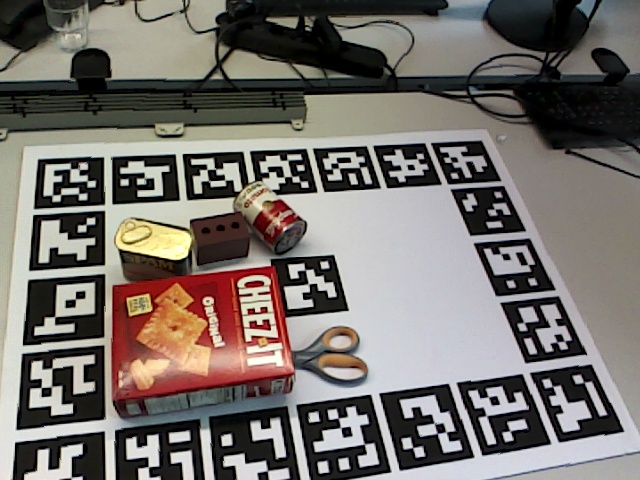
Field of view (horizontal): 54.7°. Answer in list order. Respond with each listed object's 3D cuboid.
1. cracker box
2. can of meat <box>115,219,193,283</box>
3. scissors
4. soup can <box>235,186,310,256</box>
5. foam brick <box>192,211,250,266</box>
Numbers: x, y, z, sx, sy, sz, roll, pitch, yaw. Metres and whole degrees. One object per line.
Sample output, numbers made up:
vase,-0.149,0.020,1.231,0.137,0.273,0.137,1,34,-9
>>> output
cracker box,-0.154,0.128,0.809,0.213,0.072,0.165,-11,57,-12
can of meat,-0.233,0.021,0.880,0.102,0.083,0.058,7,55,-5
scissors,-0.040,0.166,0.840,0.202,0.016,0.088,-9,58,-15
soup can,-0.075,-0.031,0.966,0.102,0.068,0.068,36,57,22
foam brick,-0.149,-0.002,0.934,0.078,0.051,0.053,-14,59,-19
